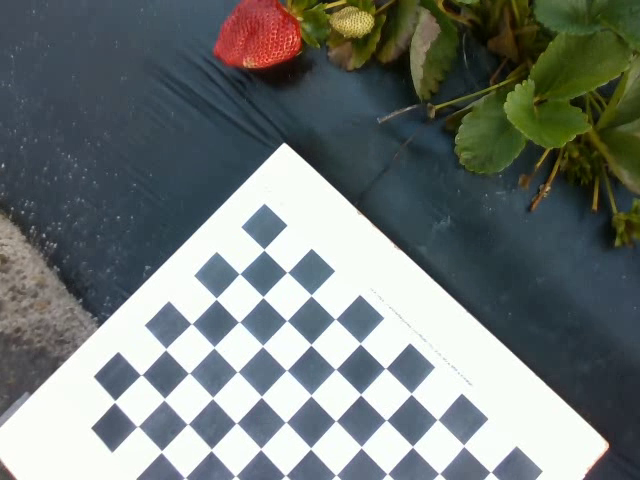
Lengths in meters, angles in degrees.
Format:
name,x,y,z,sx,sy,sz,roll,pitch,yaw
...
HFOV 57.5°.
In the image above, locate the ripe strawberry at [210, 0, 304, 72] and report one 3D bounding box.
name,x,y,z,sx,sy,sz,roll,pitch,yaw
ripe strawberry,-0.052,-0.158,0.445,0.074,0.067,0.039,-42,-12,-6
